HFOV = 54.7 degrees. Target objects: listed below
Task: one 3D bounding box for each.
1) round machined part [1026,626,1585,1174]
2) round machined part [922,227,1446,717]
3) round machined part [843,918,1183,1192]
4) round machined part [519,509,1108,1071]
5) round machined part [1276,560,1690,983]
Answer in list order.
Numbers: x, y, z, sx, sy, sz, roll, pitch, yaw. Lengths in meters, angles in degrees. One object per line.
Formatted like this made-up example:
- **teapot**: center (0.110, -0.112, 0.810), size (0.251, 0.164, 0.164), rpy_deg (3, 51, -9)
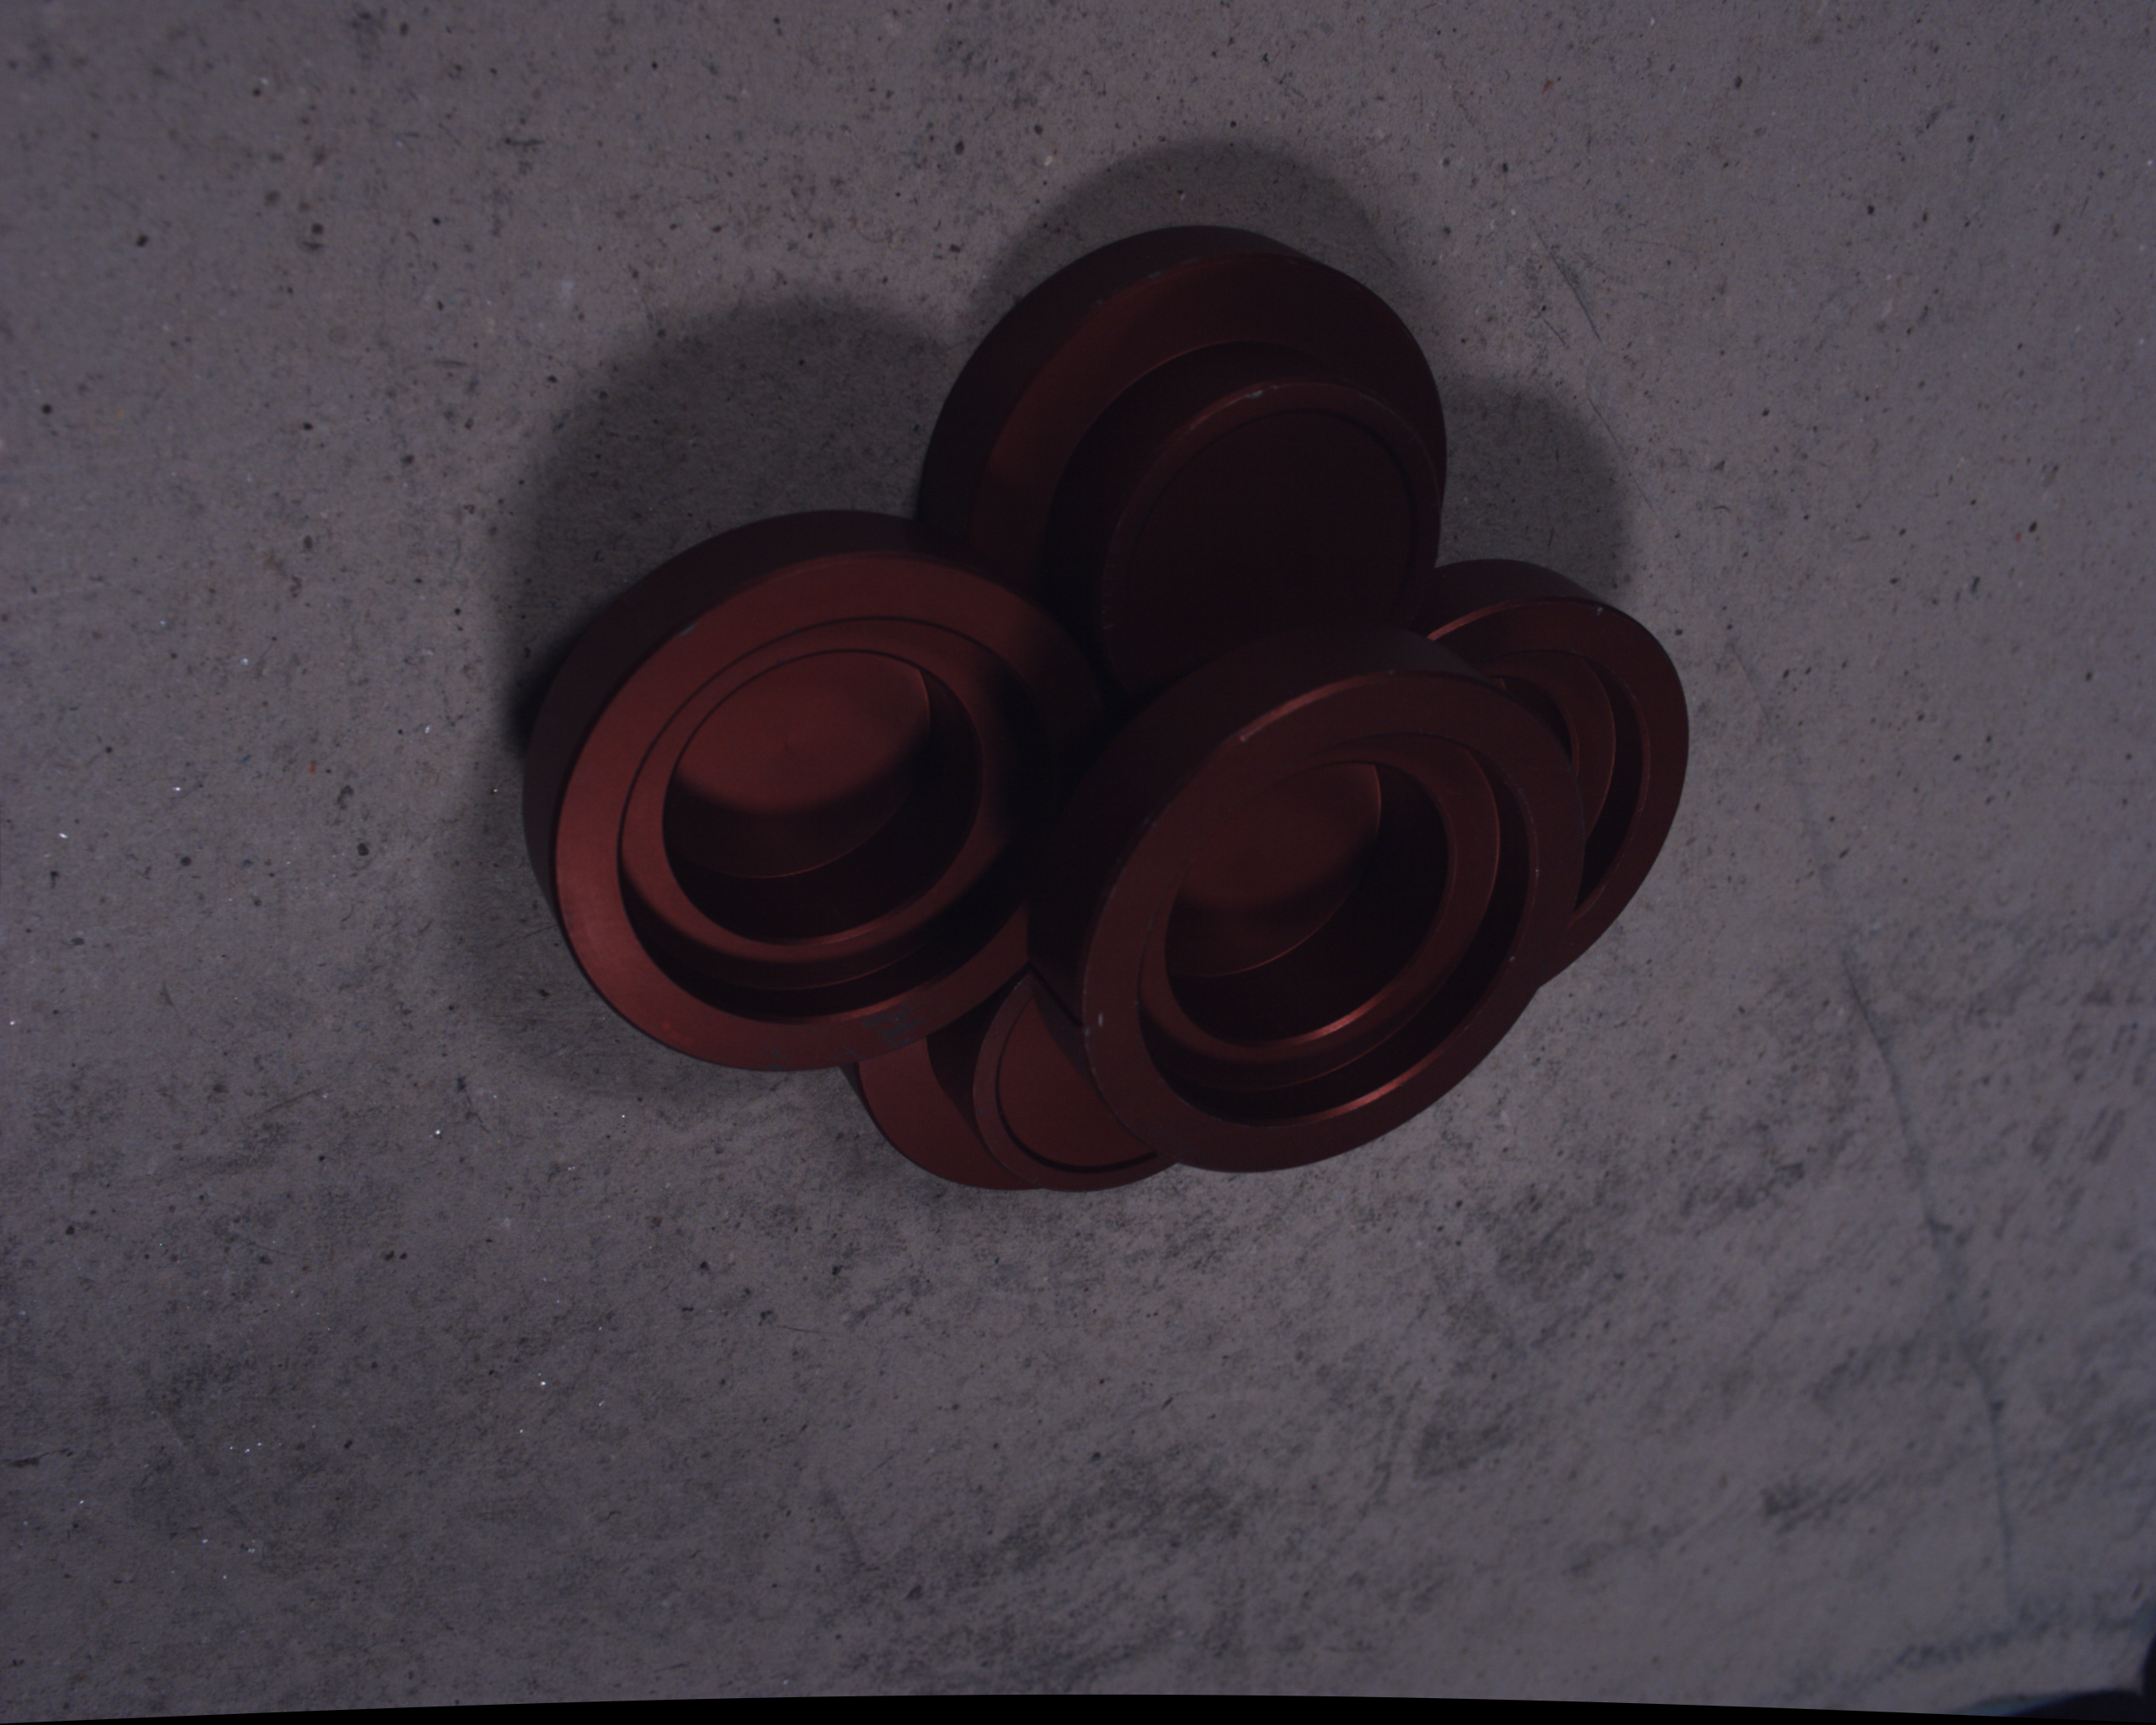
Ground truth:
- **round machined part**: center (0.036, 0.003, 0.365), size (0.099, 0.042, 0.097), rpy_deg (-14, 125, -21)
- **round machined part**: center (0.025, -0.060, 0.375), size (0.099, 0.042, 0.097), rpy_deg (-14, 125, -21)
- **round machined part**: center (0.002, 0.026, 0.416), size (0.099, 0.042, 0.097), rpy_deg (-14, 125, -21)
- **round machined part**: center (-0.048, -0.016, 0.363), size (0.099, 0.042, 0.097), rpy_deg (-14, 125, -21)
- **round machined part**: center (0.073, -0.017, 0.428), size (0.099, 0.042, 0.097), rpy_deg (-14, 125, -21)
